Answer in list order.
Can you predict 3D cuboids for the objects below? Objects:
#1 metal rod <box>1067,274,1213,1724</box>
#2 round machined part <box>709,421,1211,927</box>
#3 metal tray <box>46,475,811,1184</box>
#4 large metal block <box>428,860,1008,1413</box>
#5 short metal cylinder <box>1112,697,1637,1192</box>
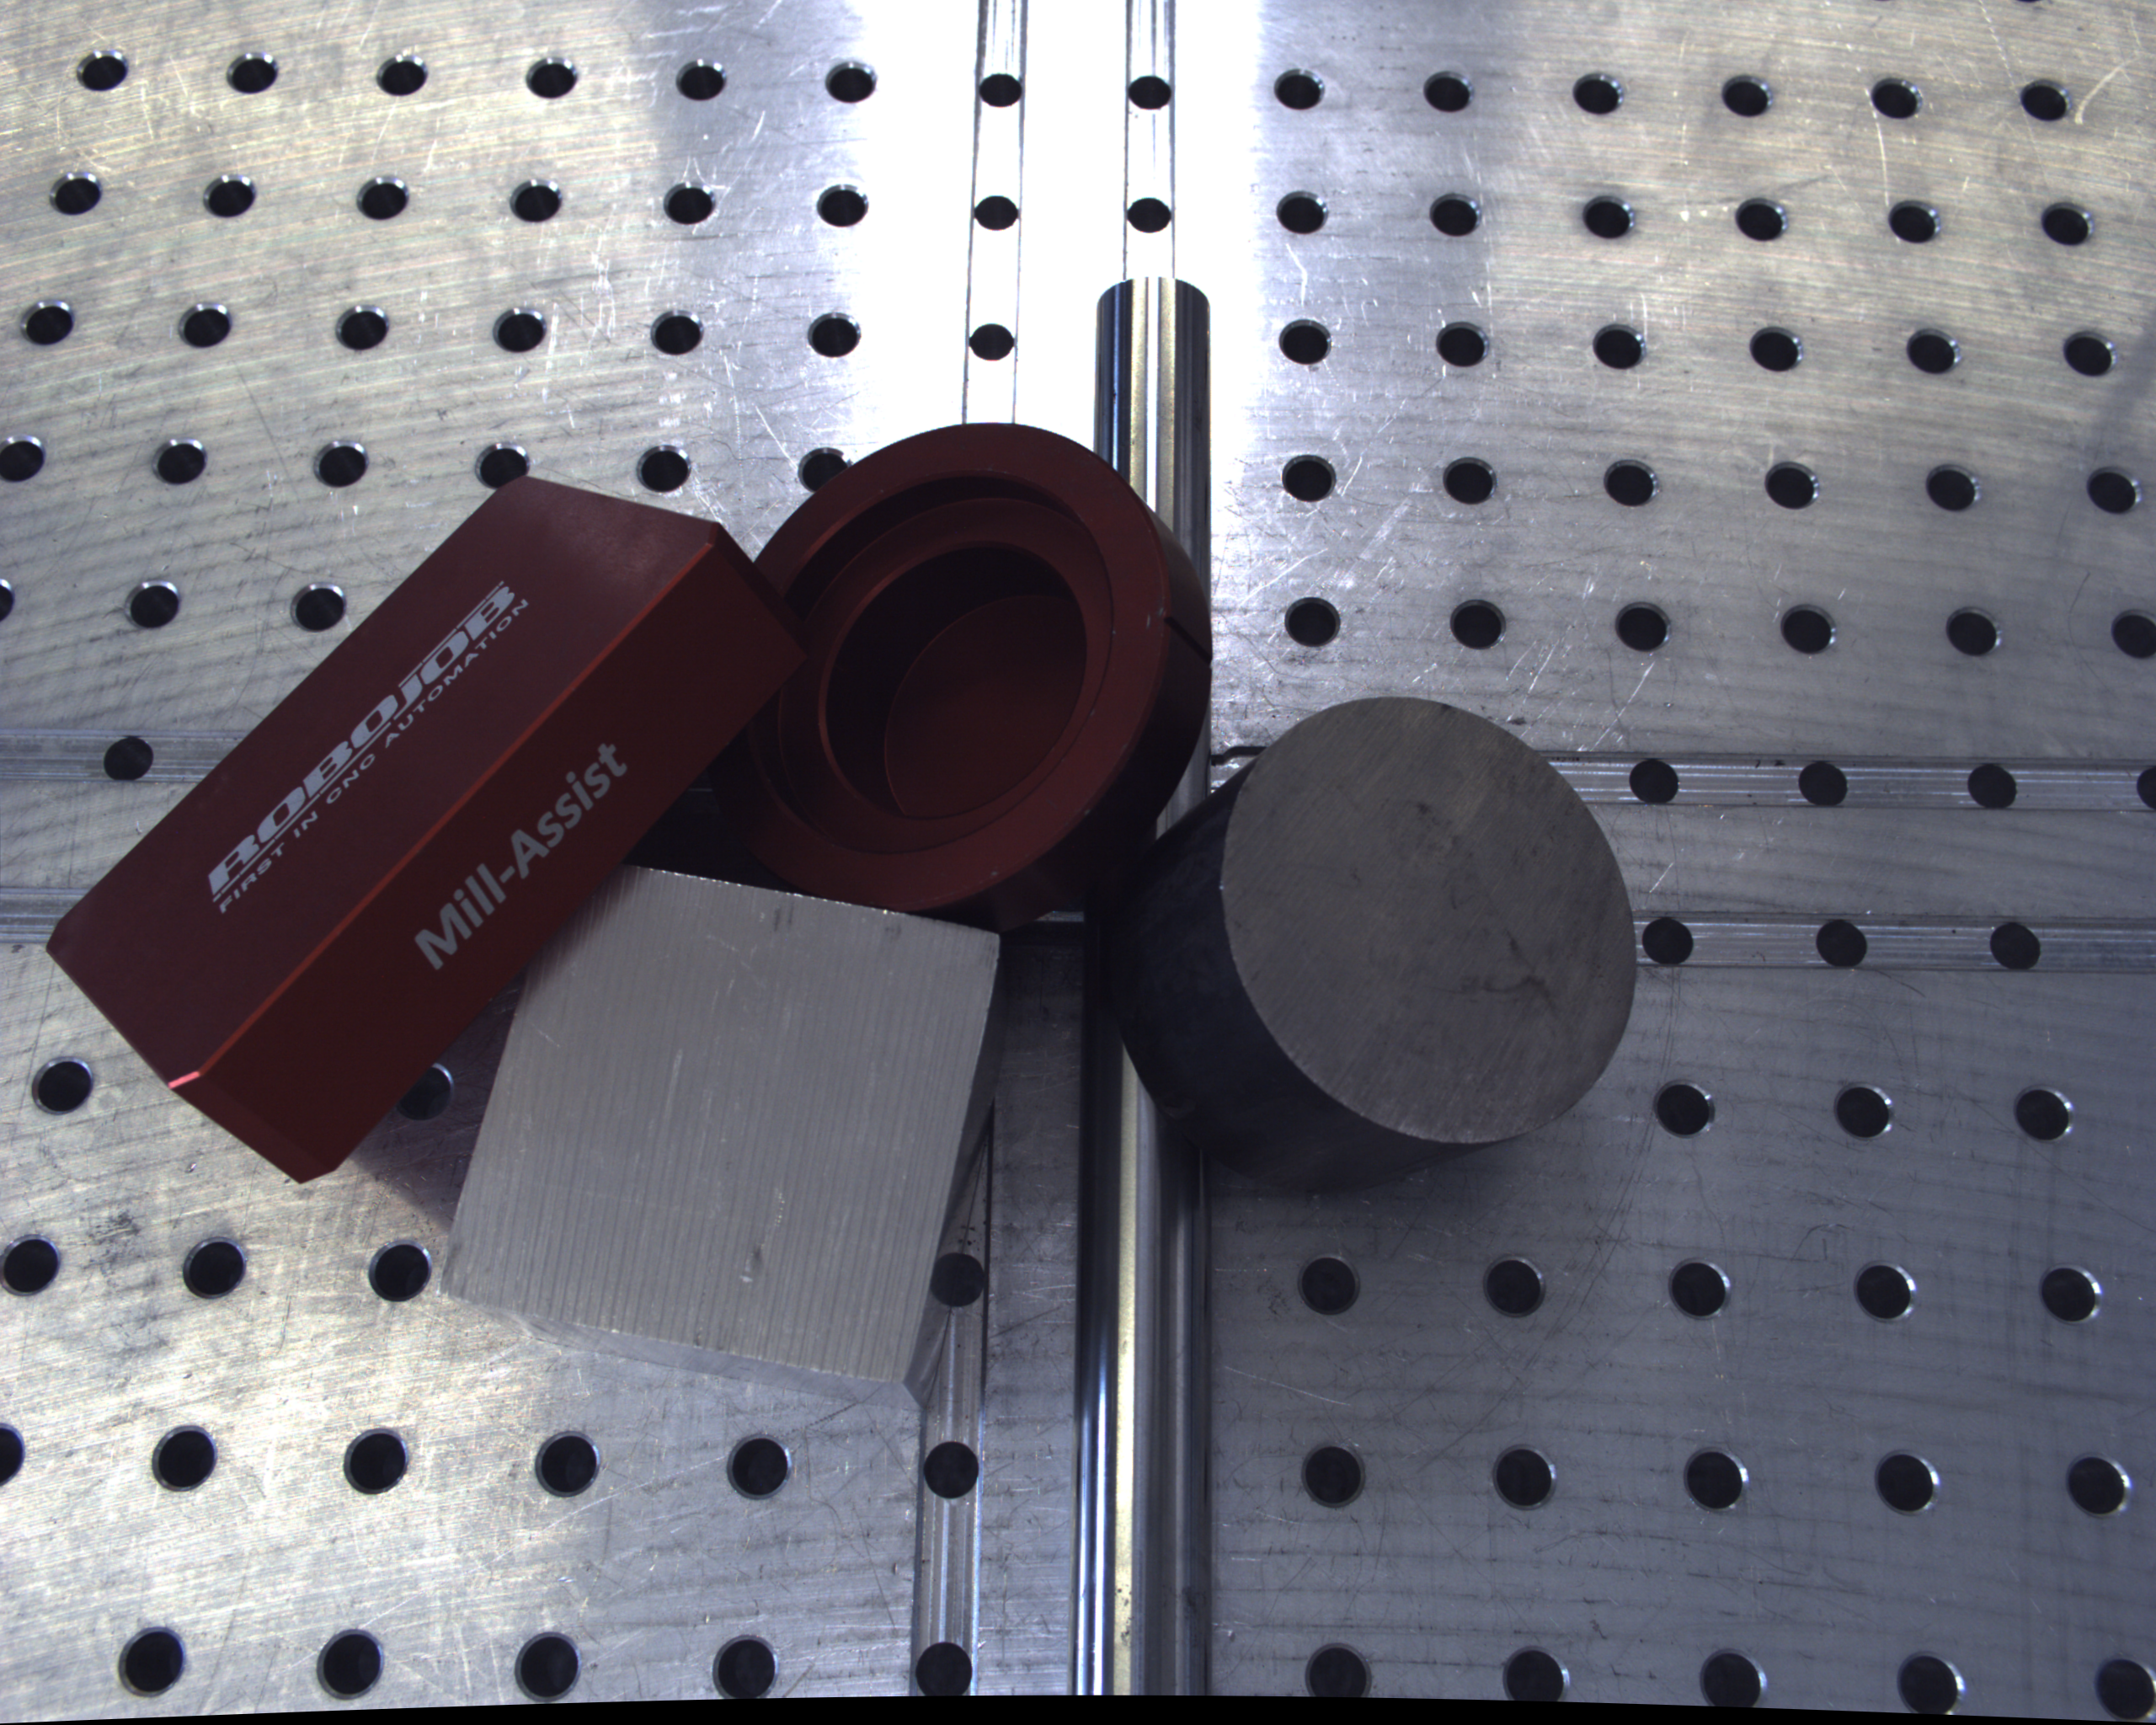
[{"bbox_3d":[0.013,0.019,0.405,0.025,0.025,0.299,1,70,0],"label":"metal rod"},{"bbox_3d":[-0.020,-0.032,0.400,0.098,0.042,0.098,-9,67,23],"label":"round machined part"},{"bbox_3d":[-0.121,-0.013,0.387,0.130,0.030,0.090,-50,39,-16],"label":"metal tray"},{"bbox_3d":[-0.060,0.050,0.379,0.080,0.050,0.080,10,70,3],"label":"large metal block"},{"bbox_3d":[0.053,0.016,0.379,0.081,0.050,0.080,7,69,-19],"label":"short metal cylinder"}]
